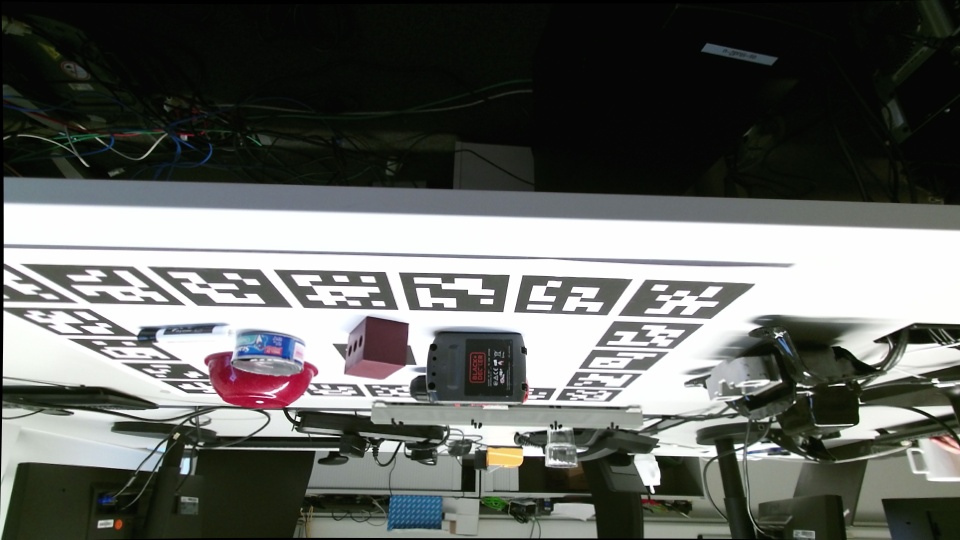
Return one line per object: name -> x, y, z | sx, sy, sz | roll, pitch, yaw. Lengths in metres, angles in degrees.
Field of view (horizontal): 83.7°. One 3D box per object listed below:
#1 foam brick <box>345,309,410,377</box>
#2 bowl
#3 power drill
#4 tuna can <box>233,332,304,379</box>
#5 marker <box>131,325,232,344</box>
foam brick -> -0.120, 0.086, 0.618 | 0.051, 0.052, 0.078 | 15, 149, -21
bowl -> -0.320, 0.166, 0.786 | 0.162, 0.055, 0.162 | -2, 160, 0
power drill -> -0.007, 0.145, 0.717 | 0.185, 0.057, 0.187 | 4, 155, 2
tuna can -> -0.266, 0.108, 0.671 | 0.086, 0.033, 0.086 | 3, 153, 2
marker -> -0.351, 0.076, 0.626 | 0.121, 0.019, 0.020 | -3, 151, 8
